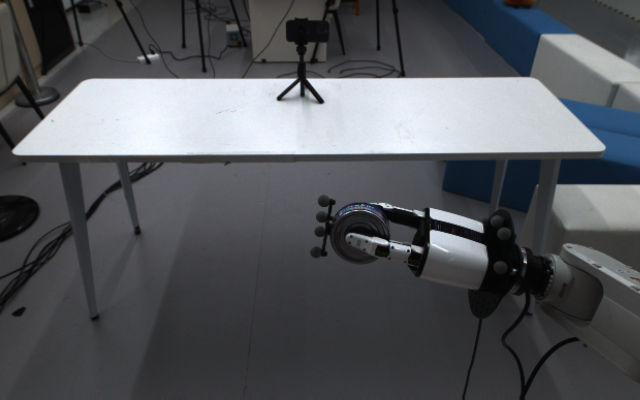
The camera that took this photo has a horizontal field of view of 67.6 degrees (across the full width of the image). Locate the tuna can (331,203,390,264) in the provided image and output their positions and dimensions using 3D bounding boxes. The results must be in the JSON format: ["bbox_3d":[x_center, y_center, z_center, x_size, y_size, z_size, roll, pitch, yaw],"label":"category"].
[{"bbox_3d":[0.060,0.052,0.690,0.085,0.085,0.034,5,18,4],"label":"tuna can"}]
